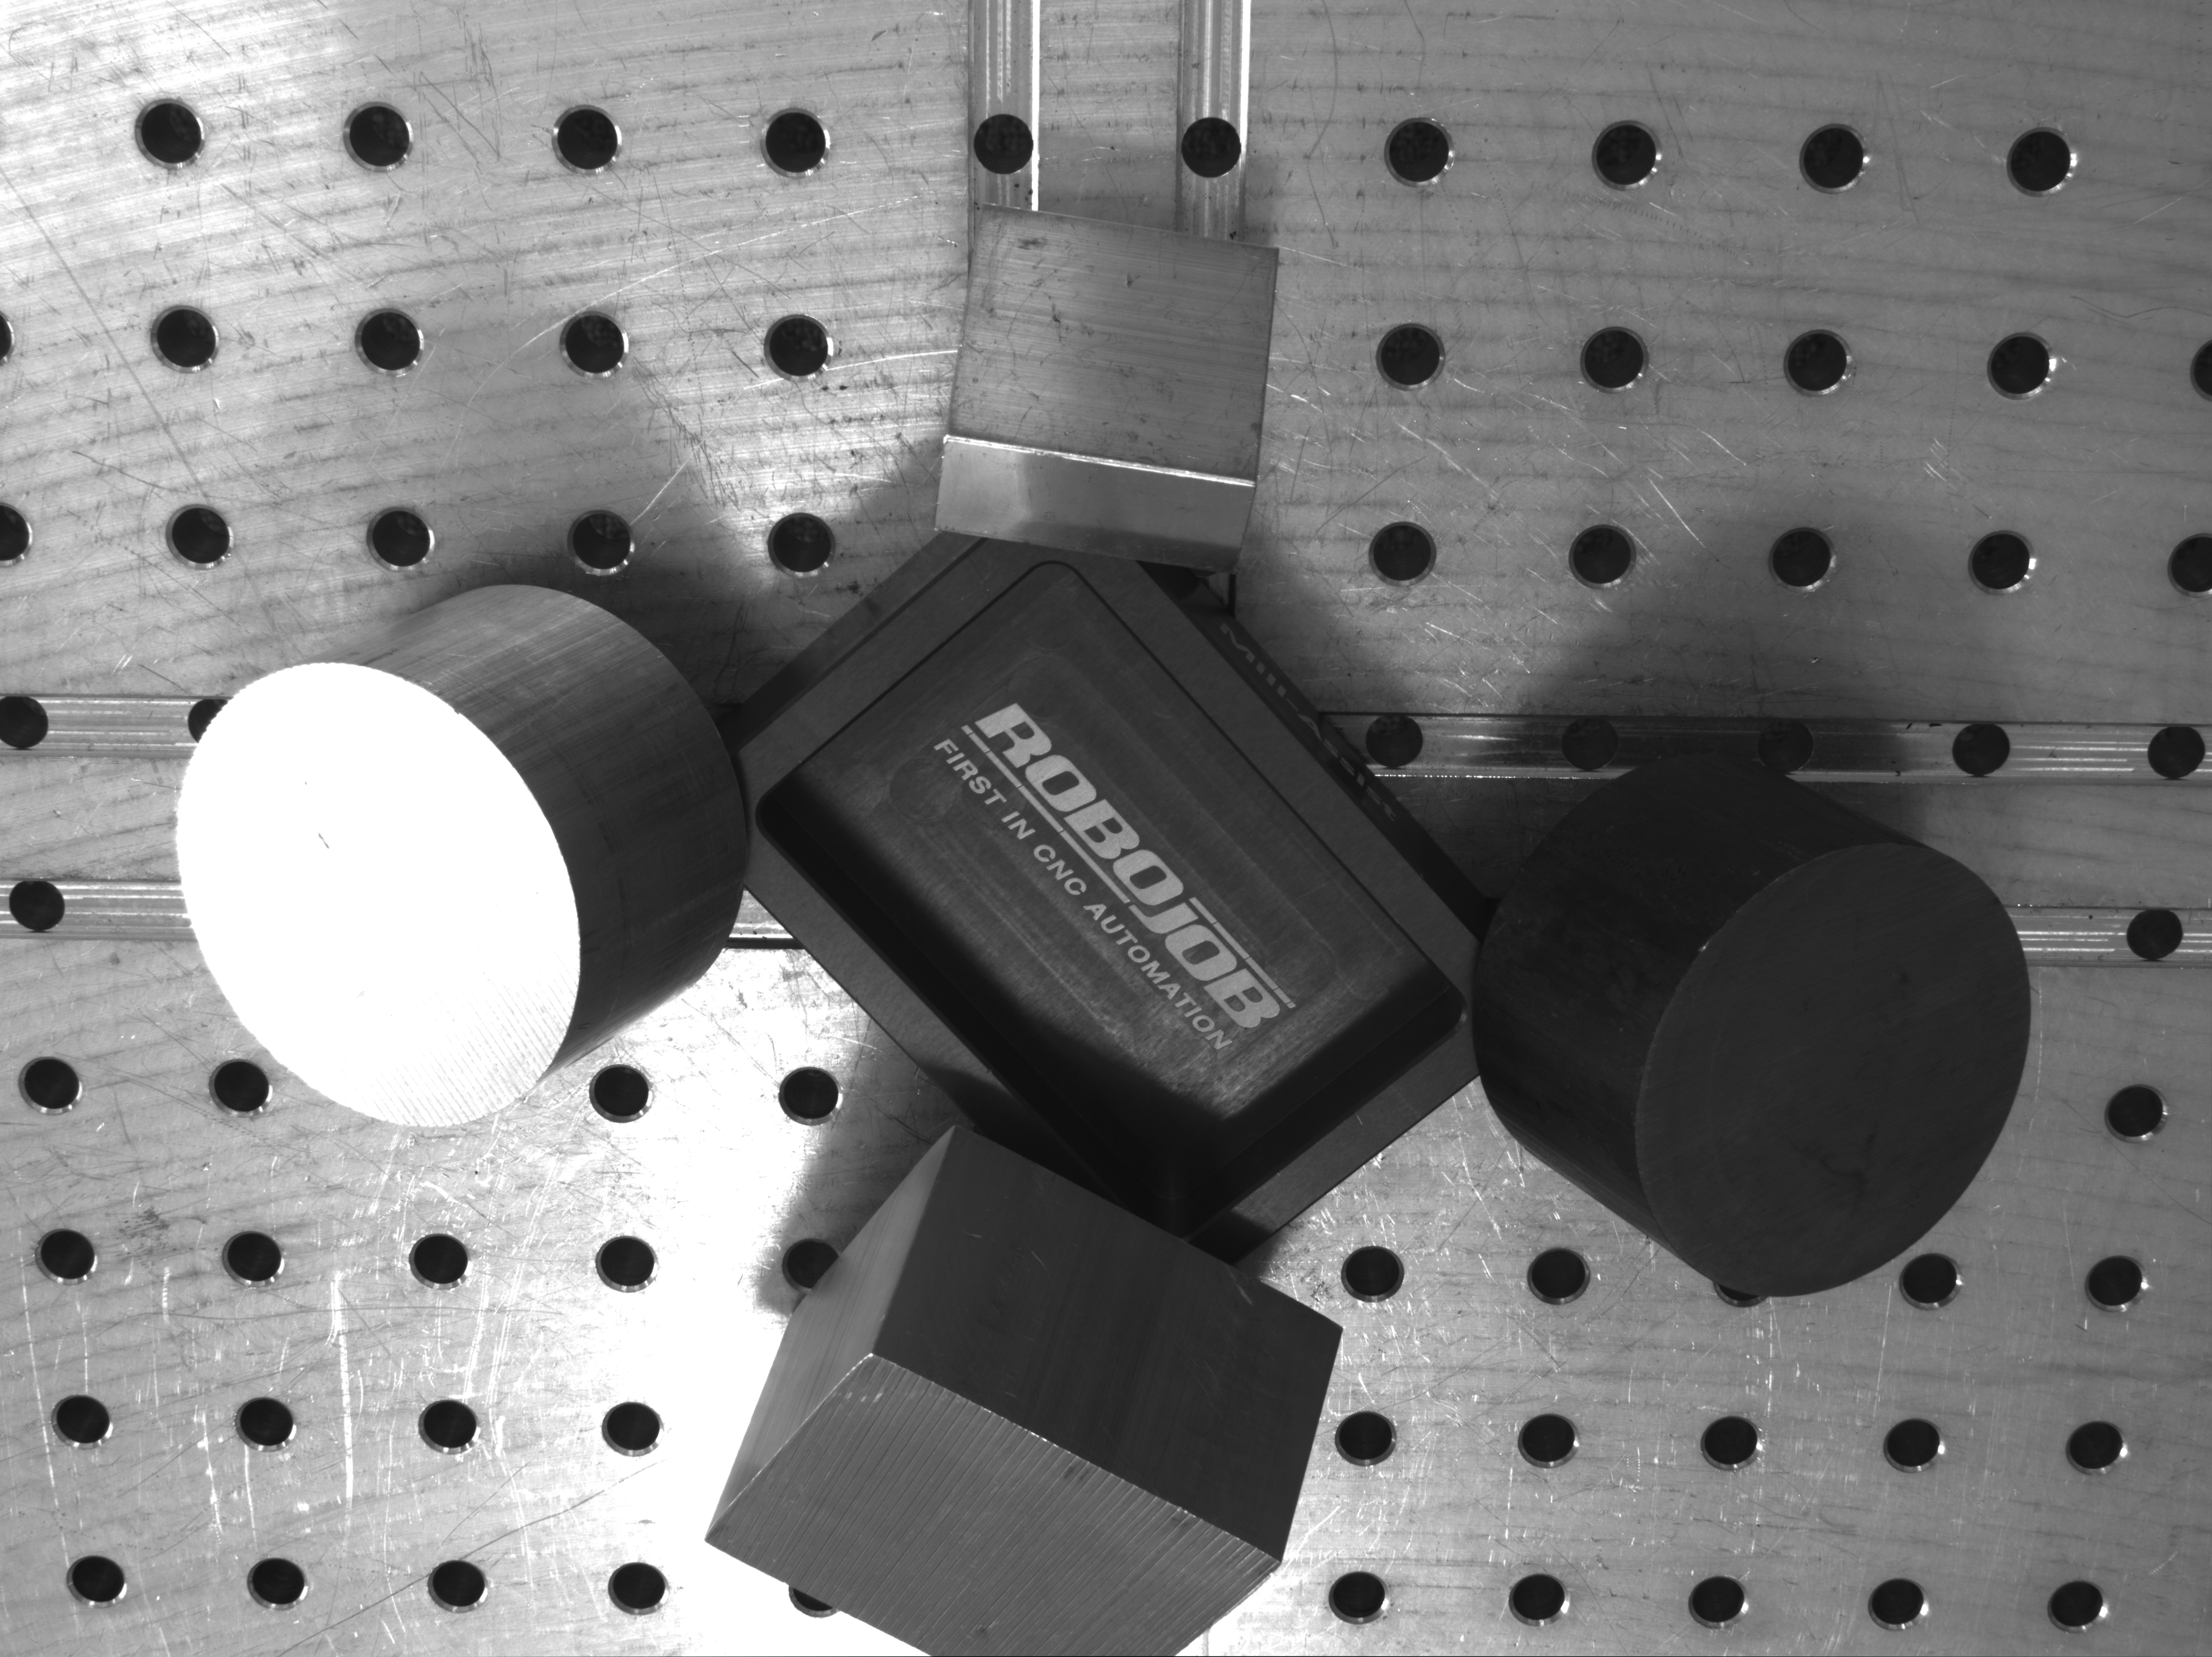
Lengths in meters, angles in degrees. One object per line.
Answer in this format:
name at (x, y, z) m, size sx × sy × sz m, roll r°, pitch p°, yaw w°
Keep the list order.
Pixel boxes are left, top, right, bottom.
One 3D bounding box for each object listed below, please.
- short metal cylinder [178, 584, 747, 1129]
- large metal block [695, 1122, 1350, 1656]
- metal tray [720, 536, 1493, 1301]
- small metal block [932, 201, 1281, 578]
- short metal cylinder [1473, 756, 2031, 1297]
short metal cylinder at (-0.108, 0.004, 0.619) m, size 0.080 × 0.050 × 0.080 m, roll 9°, pitch 112°, yaw 24°
large metal block at (-0.015, 0.108, 0.654) m, size 0.080 × 0.050 × 0.080 m, roll 29°, pitch 138°, yaw -10°
metal tray at (0.002, 0.010, 0.647) m, size 0.090 × 0.030 × 0.130 m, roll -40°, pitch 105°, yaw 13°
small metal block at (0.000, -0.072, 0.604) m, size 0.050 × 0.050 × 0.025 m, roll 9°, pitch 148°, yaw -3°
short metal cylinder at (0.110, 0.033, 0.629) m, size 0.080 × 0.050 × 0.080 m, roll -10°, pitch 112°, yaw -24°
